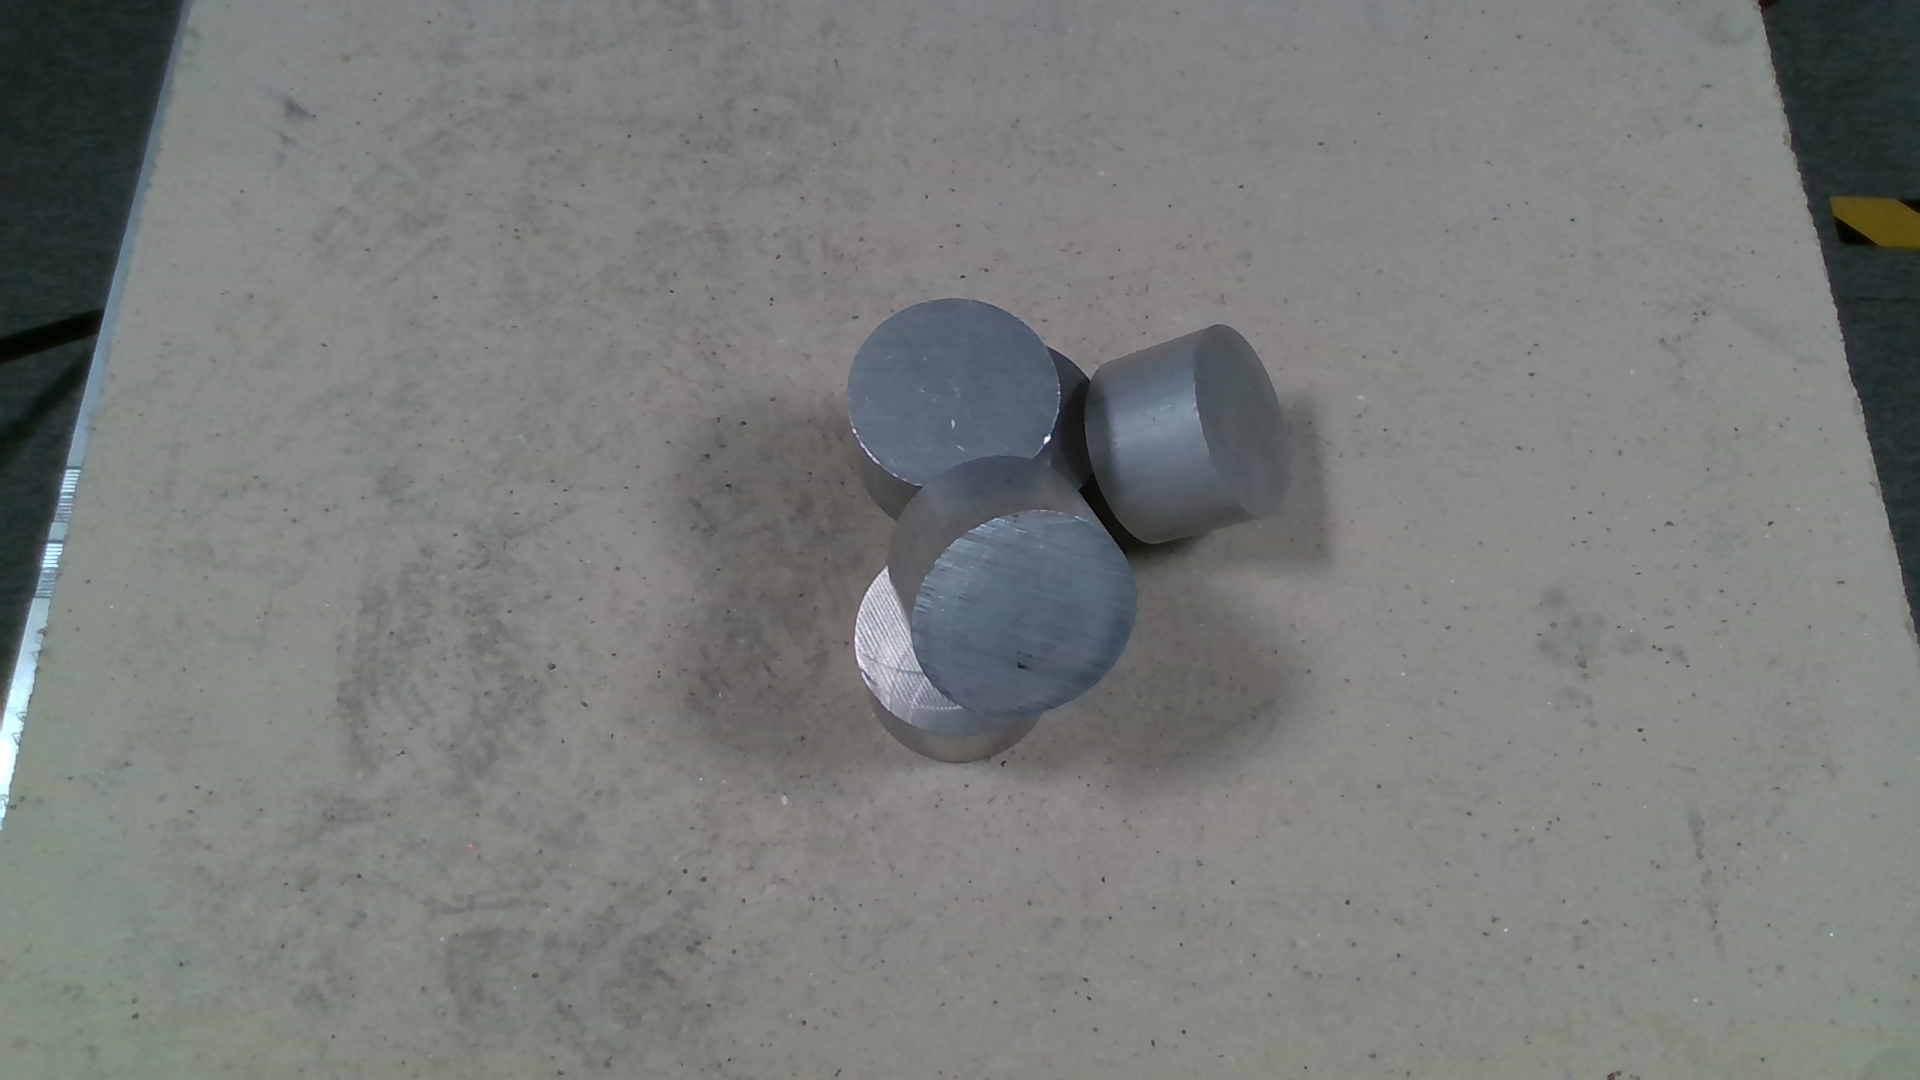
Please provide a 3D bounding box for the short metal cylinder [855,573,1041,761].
[{"bbox_3d":[-0.001,0.045,0.558,0.080,0.050,0.080,0,70,0],"label":"short metal cylinder"}]

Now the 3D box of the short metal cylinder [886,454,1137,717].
[{"bbox_3d":[0.017,0.016,0.493,0.080,0.080,0.050,-16,28,-6],"label":"short metal cylinder"}]

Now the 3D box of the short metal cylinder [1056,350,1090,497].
[{"bbox_3d":[0.019,-0.039,0.589,0.080,0.050,0.080,0,70,0],"label":"short metal cylinder"}]

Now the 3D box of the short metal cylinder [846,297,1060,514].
[{"bbox_3d":[-0.003,-0.047,0.538,0.080,0.050,0.080,0,70,0],"label":"short metal cylinder"}]

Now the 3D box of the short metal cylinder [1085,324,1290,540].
[{"bbox_3d":[0.095,-0.043,0.568,0.050,0.080,0.080,-15,65,36],"label":"short metal cylinder"}]
